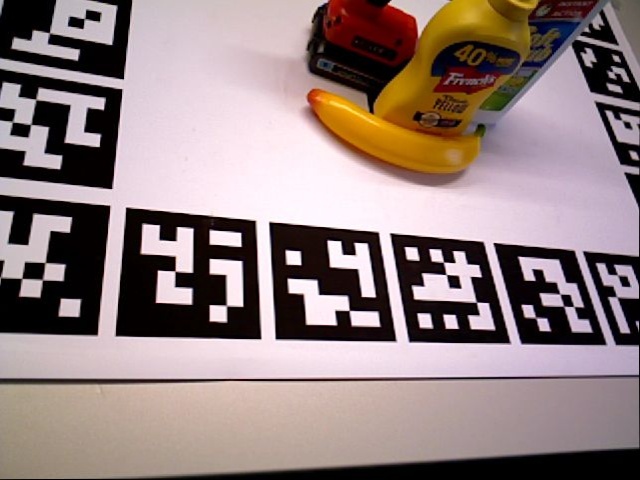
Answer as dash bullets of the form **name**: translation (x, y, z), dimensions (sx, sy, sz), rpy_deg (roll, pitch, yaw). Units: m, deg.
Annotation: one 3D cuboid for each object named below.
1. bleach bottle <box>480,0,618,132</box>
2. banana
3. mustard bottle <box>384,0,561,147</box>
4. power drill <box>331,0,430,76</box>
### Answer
- **bleach bottle**: translation (0.208, -0.213, 0.502), dimensions (0.101, 0.257, 0.067), rpy_deg (7, 56, -18)
- **banana**: translation (0.093, -0.093, 0.528), dimensions (0.195, 0.040, 0.073), rpy_deg (8, 63, -15)
- **mustard bottle**: translation (0.139, -0.156, 0.475), dimensions (0.095, 0.196, 0.058), rpy_deg (6, 62, -20)
- **power drill**: translation (0.103, -0.232, 0.474), dimensions (0.183, 0.191, 0.056), rpy_deg (17, 57, -15)
